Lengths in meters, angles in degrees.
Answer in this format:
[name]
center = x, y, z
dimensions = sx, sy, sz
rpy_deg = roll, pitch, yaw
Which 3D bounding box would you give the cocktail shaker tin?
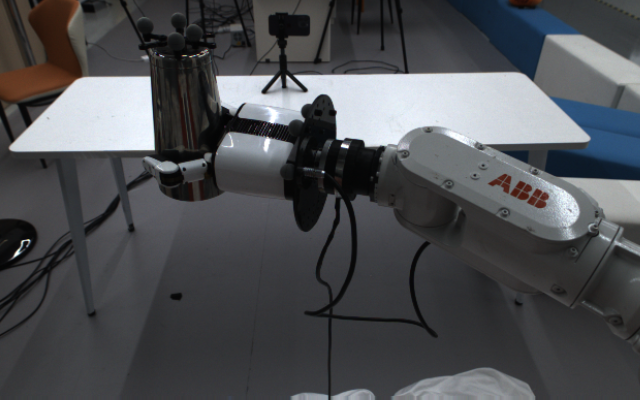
[cocktail shaker tin]
center = -0.154, -0.094, 0.572
dimensions = 0.093, 0.170, 0.093
rpy_deg = 2, 35, -1
